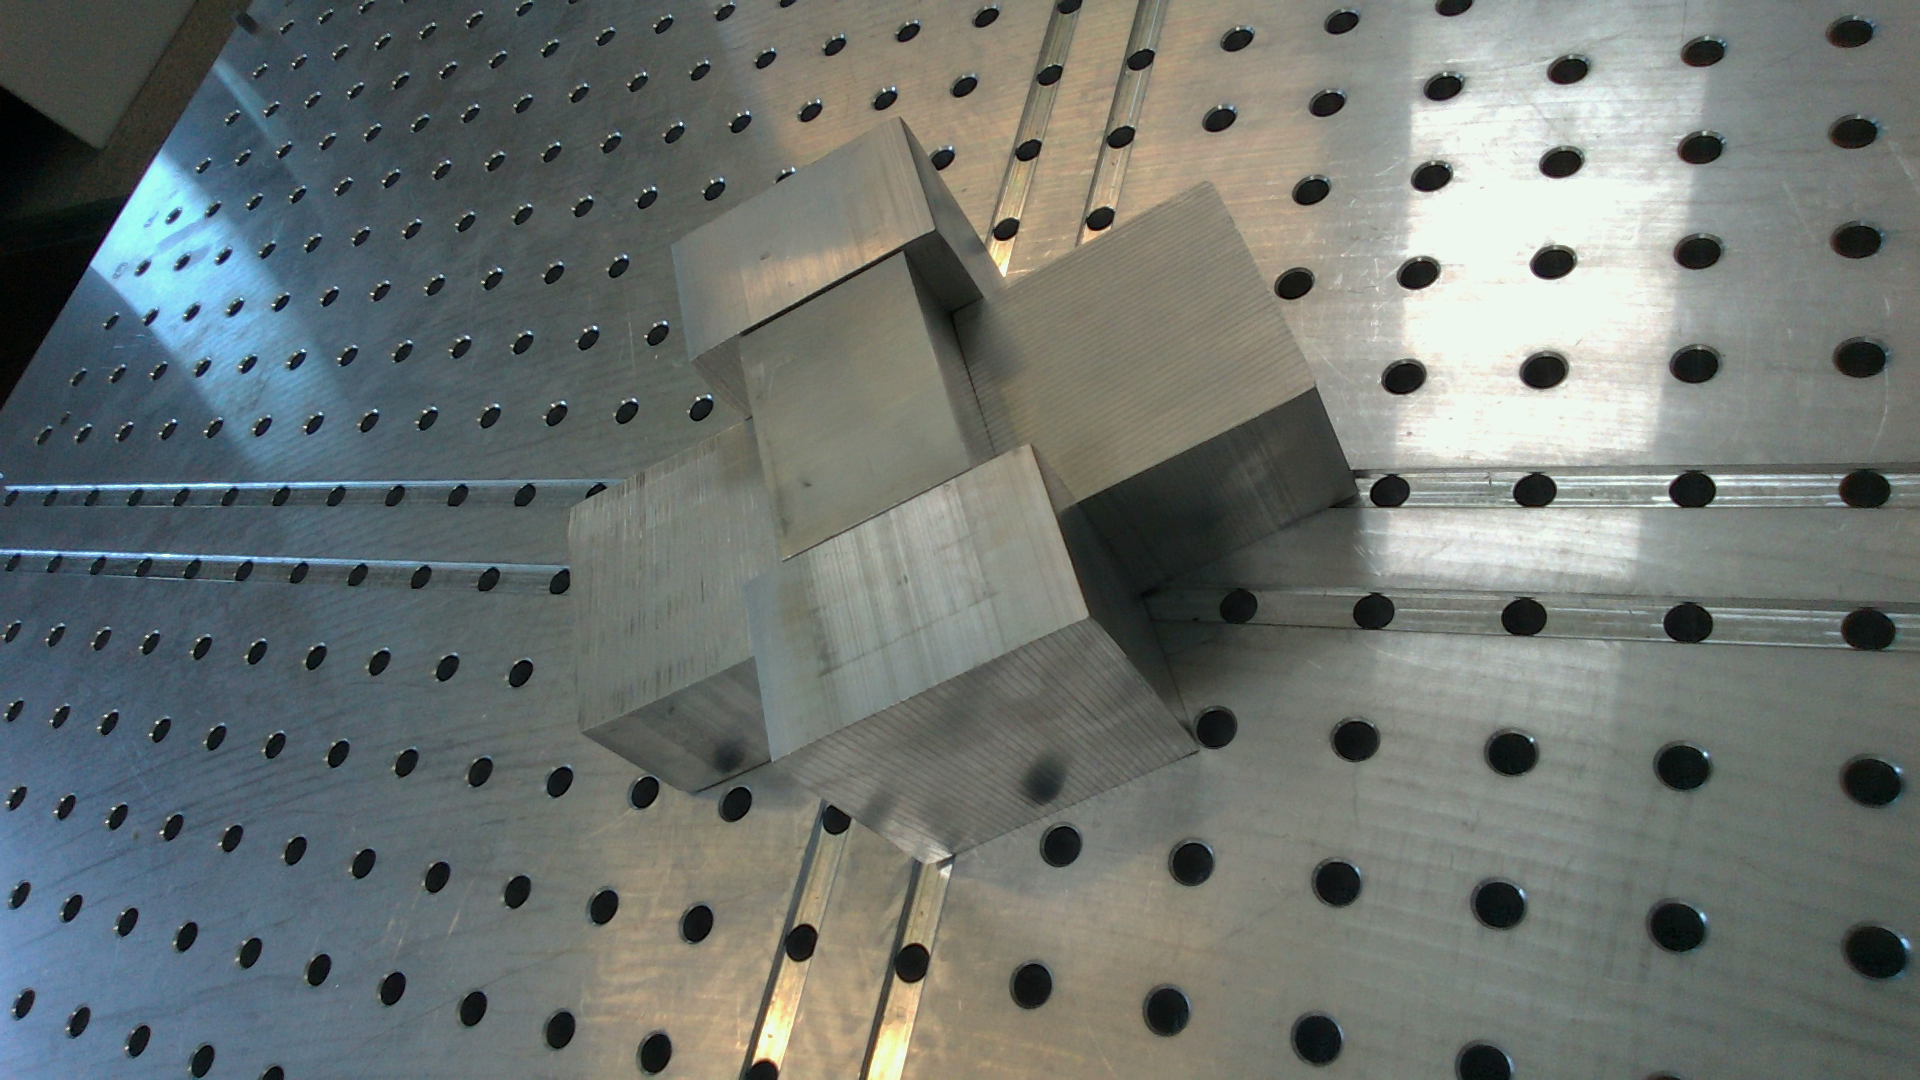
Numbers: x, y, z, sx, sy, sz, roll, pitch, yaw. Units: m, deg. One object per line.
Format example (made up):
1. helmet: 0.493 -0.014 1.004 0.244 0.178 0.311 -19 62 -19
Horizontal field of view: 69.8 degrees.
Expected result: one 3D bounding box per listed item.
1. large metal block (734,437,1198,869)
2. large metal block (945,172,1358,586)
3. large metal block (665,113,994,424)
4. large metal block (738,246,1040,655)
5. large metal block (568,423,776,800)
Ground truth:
1. large metal block: 0.003 0.032 0.340 0.080 0.080 0.050 -25 52 12
2. large metal block: 0.051 -0.040 0.377 0.080 0.050 0.080 -26 54 13
3. large metal block: -0.031 -0.067 0.418 0.080 0.080 0.050 -26 52 13
4. large metal block: -0.013 -0.018 0.379 0.050 0.080 0.080 -26 52 13
5. large metal block: -0.066 0.018 0.406 0.080 0.050 0.080 -24 52 14
